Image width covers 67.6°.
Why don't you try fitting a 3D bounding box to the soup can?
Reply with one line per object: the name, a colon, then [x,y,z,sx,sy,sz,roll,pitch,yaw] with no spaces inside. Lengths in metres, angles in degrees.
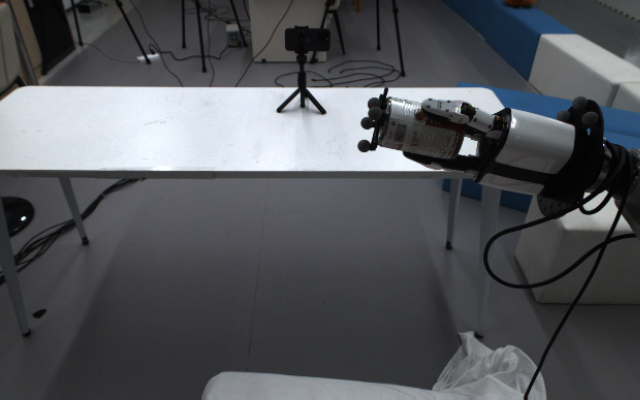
soup can: [0.133,-0.095,0.640,0.101,0.067,0.067,11,35,-1]
